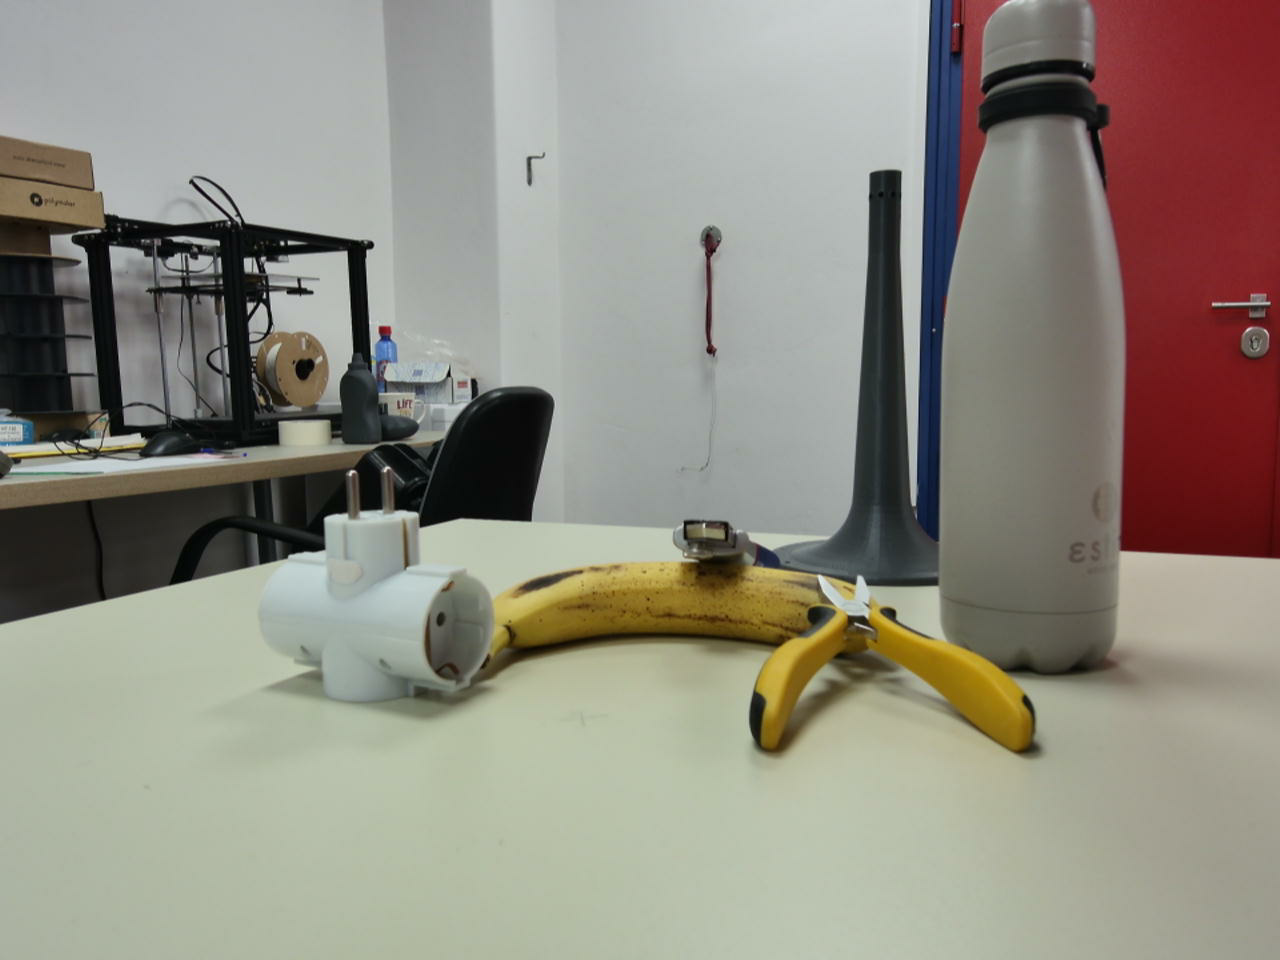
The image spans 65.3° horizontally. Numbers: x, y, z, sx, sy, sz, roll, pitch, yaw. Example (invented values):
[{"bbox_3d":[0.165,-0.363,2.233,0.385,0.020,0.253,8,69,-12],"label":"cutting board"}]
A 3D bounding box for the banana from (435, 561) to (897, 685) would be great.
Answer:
[{"bbox_3d":[0.012,0.060,0.455,0.186,0.038,0.097,0,3,-2],"label":"banana"}]
